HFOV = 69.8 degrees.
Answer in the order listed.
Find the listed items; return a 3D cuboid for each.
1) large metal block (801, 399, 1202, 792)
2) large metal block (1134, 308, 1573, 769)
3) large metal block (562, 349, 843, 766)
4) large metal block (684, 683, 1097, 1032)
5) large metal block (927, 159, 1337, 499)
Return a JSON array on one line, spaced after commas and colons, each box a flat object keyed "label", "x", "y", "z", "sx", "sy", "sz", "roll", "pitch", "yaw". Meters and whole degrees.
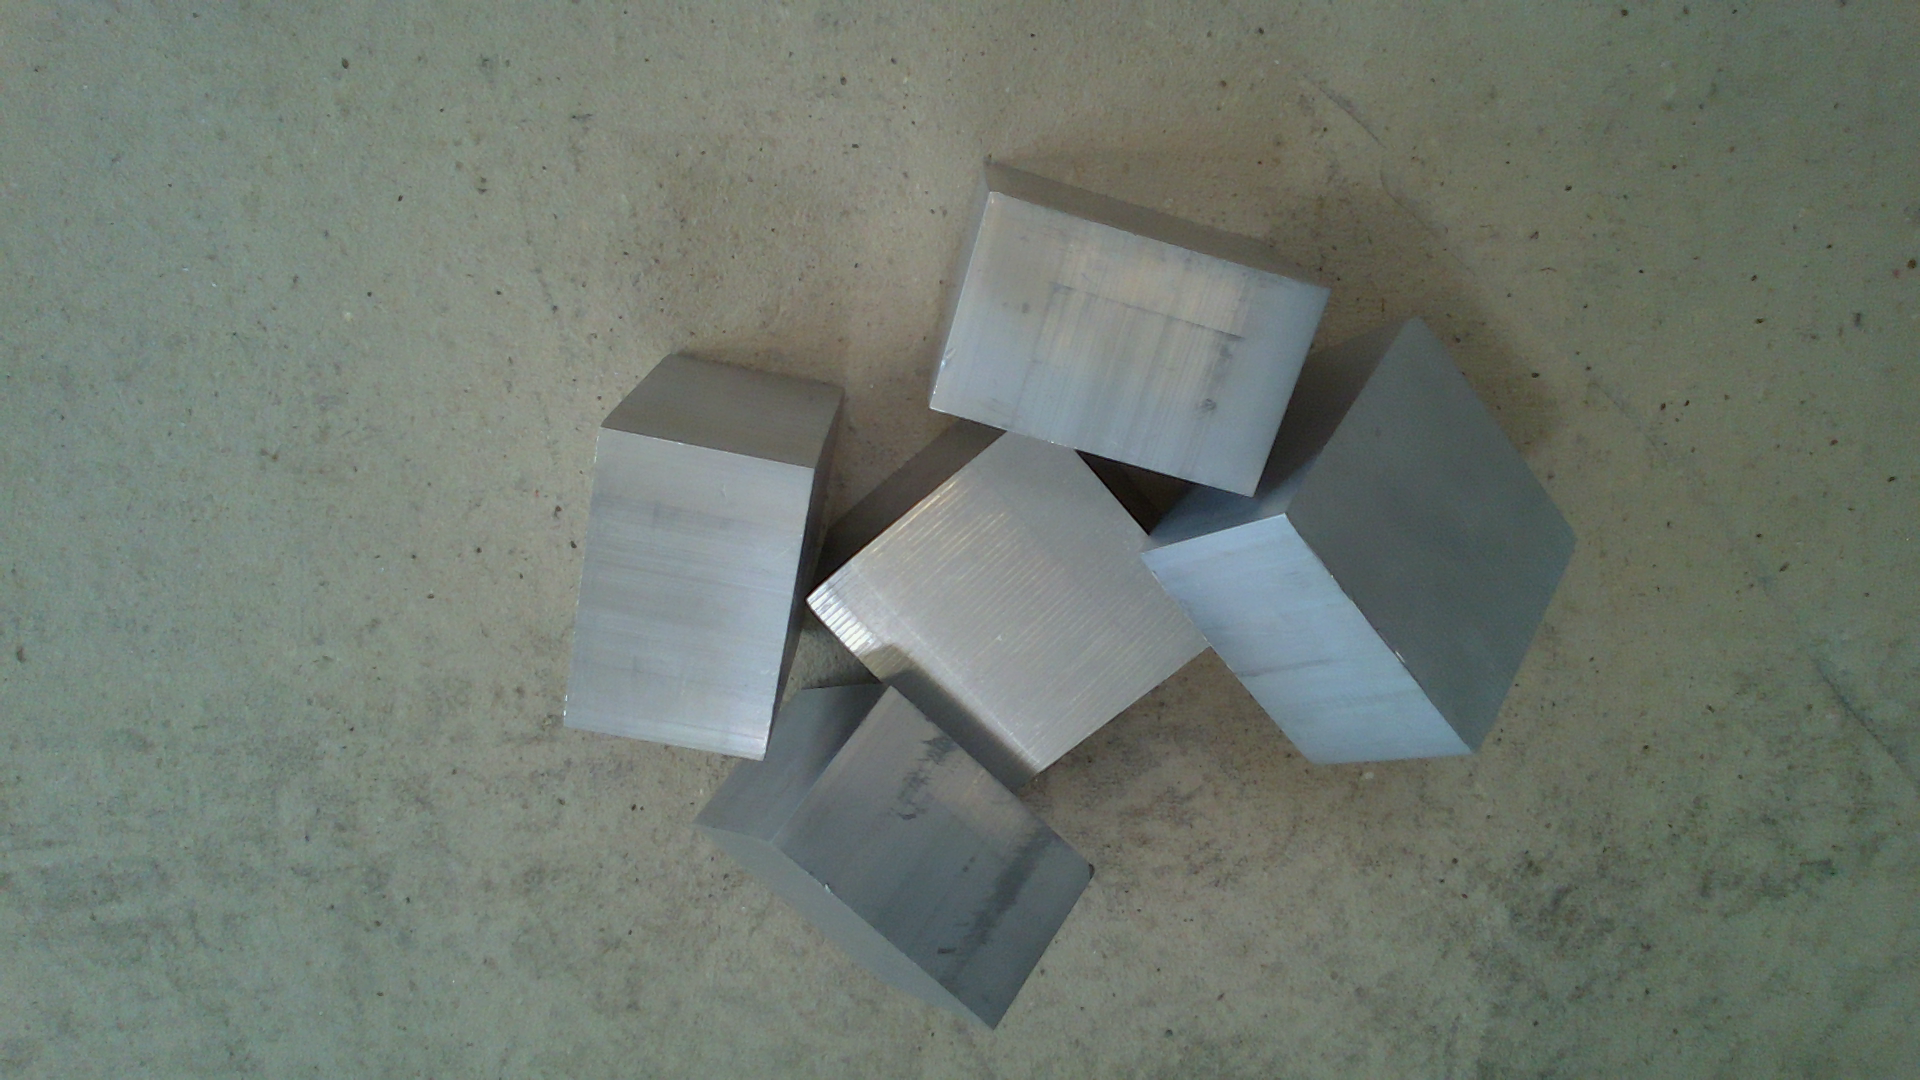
[{"label": "large metal block", "x": 0.015, "y": 0.011, "z": 0.383, "sx": 0.080, "sy": 0.050, "sz": 0.080, "roll": -39, "pitch": 107, "yaw": 13}, {"label": "large metal block", "x": 0.105, "y": 0.001, "z": 0.360, "sx": 0.080, "sy": 0.080, "sz": 0.050, "roll": 49, "pitch": 147, "yaw": -15}, {"label": "large metal block", "x": -0.066, "y": 0.001, "z": 0.366, "sx": 0.050, "sy": 0.080, "sz": 0.080, "roll": 11, "pitch": 111, "yaw": -4}, {"label": "large metal block", "x": -0.022, "y": 0.087, "z": 0.390, "sx": 0.080, "sy": 0.080, "sz": 0.050, "roll": 44, "pitch": 68, "yaw": -14}, {"label": "large metal block", "x": 0.038, "y": -0.056, "z": 0.345, "sx": 0.080, "sy": 0.080, "sz": 0.050, "roll": 15, "pitch": 109, "yaw": -5}]
